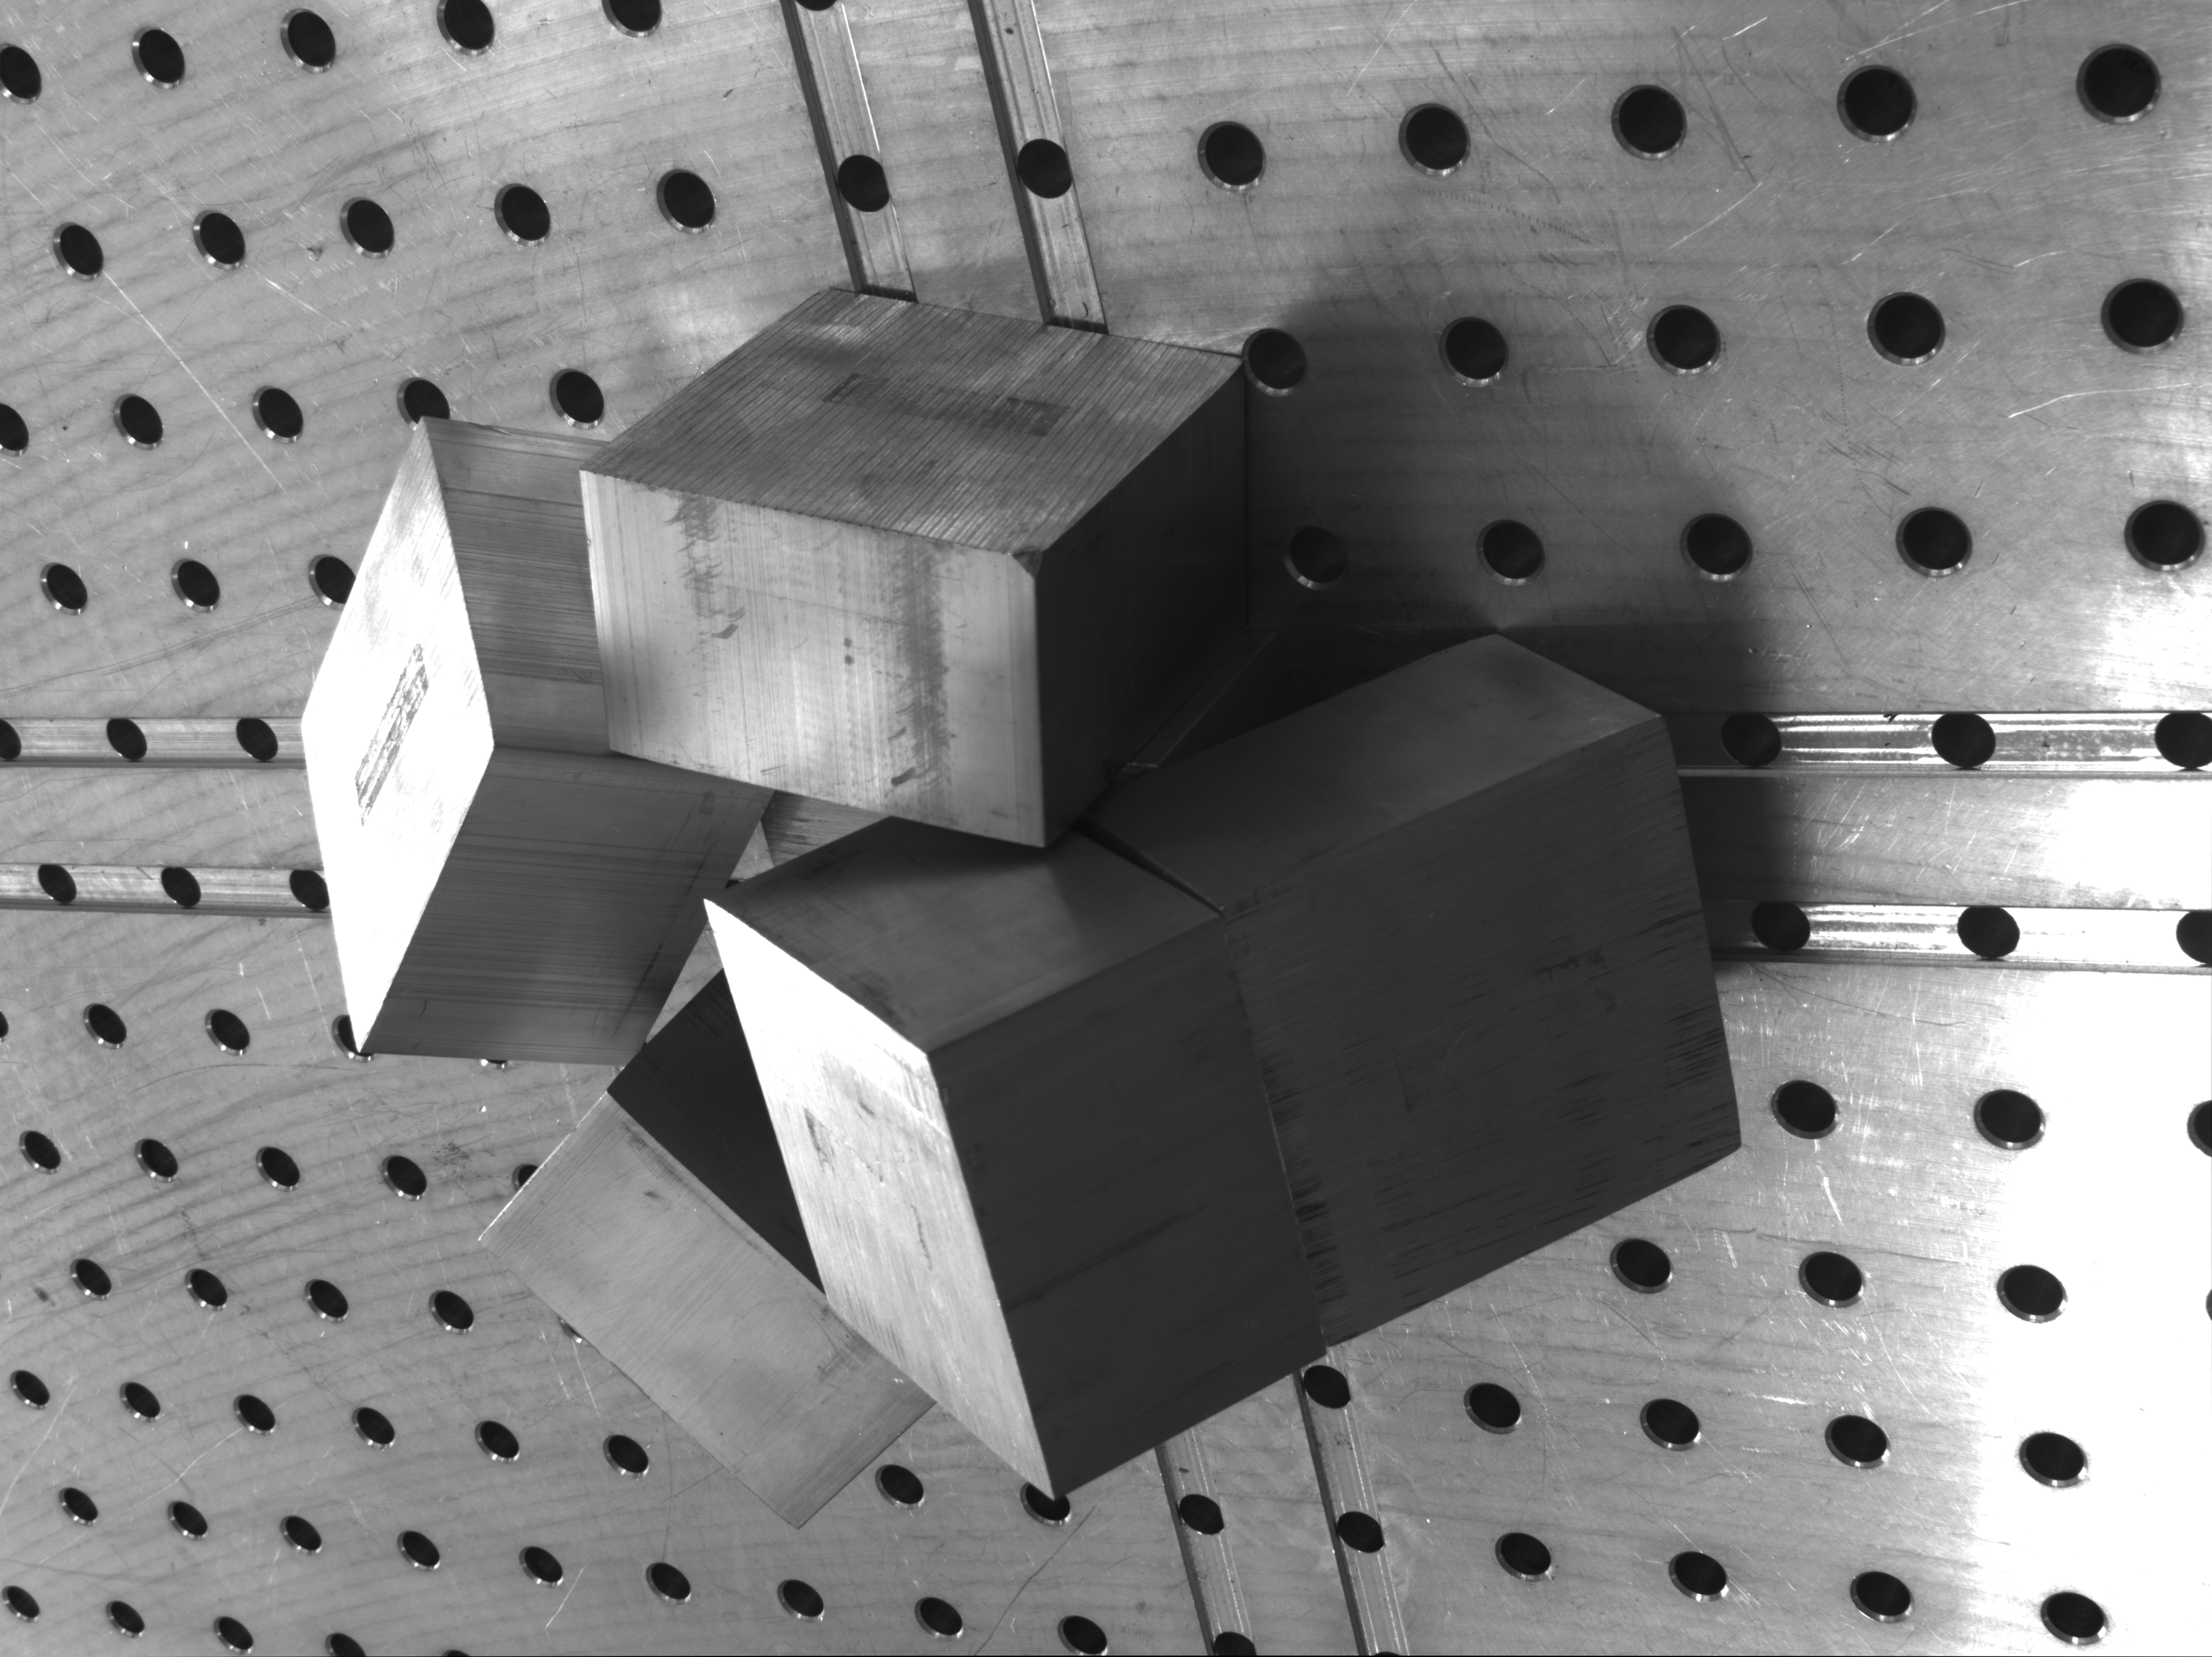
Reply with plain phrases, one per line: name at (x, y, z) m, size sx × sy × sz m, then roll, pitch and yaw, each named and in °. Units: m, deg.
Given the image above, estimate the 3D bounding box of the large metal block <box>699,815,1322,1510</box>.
large metal block at (-0.016, 0.047, 0.578) m, size 0.080 × 0.050 × 0.080 m, roll 28°, pitch 137°, yaw 56°

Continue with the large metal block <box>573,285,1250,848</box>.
large metal block at (-0.029, -0.045, 0.599) m, size 0.080 × 0.080 × 0.050 m, roll 13°, pitch 123°, yaw 22°

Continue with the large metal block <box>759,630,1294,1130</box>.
large metal block at (-0.008, 0.013, 0.642) m, size 0.080 × 0.050 × 0.080 m, roll 1°, pitch 119°, yaw 28°

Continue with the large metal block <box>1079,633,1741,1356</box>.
large metal block at (0.049, 0.025, 0.589) m, size 0.050 × 0.080 × 0.080 m, roll 33°, pitch 141°, yaw 58°

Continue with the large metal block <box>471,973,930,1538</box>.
large metal block at (-0.056, 0.069, 0.681) m, size 0.080 × 0.080 × 0.050 m, roll 42°, pitch 129°, yaw -1°

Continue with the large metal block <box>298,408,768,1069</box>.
large metal block at (-0.103, -0.015, 0.649) m, size 0.050 × 0.080 × 0.080 m, roll 5°, pitch 136°, yaw -29°
